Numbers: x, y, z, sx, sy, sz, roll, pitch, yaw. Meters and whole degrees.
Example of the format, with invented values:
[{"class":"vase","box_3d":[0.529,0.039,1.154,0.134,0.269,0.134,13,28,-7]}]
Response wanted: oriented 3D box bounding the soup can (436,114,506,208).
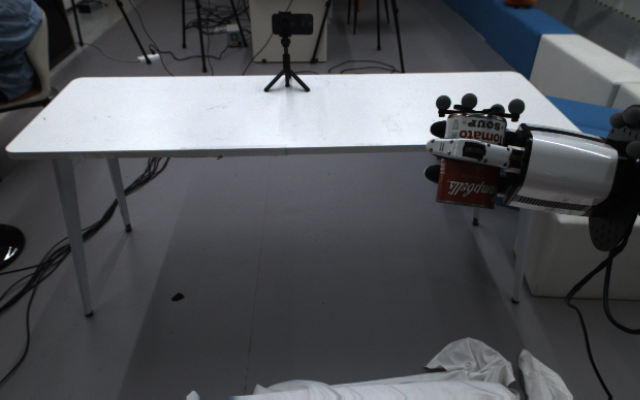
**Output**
[{"class":"soup can","box_3d":[0.176,-0.044,0.557,0.067,0.101,0.067,7,3,0]}]
